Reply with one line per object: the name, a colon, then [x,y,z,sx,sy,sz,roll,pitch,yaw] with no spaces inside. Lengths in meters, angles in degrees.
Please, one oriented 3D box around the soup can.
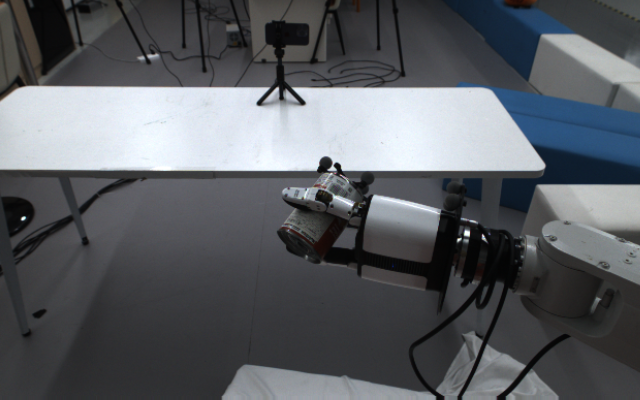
soup can: [0.003,0.020,0.621,0.067,0.067,0.101,25,67,30]
